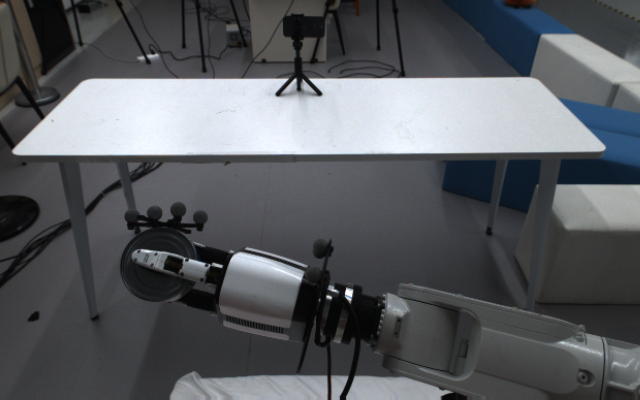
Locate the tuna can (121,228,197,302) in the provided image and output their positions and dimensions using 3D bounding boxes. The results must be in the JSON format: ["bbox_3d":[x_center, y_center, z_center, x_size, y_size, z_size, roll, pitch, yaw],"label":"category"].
[{"bbox_3d":[-0.179,0.078,0.564,0.085,0.034,0.085,1,73,-4],"label":"tuna can"}]
